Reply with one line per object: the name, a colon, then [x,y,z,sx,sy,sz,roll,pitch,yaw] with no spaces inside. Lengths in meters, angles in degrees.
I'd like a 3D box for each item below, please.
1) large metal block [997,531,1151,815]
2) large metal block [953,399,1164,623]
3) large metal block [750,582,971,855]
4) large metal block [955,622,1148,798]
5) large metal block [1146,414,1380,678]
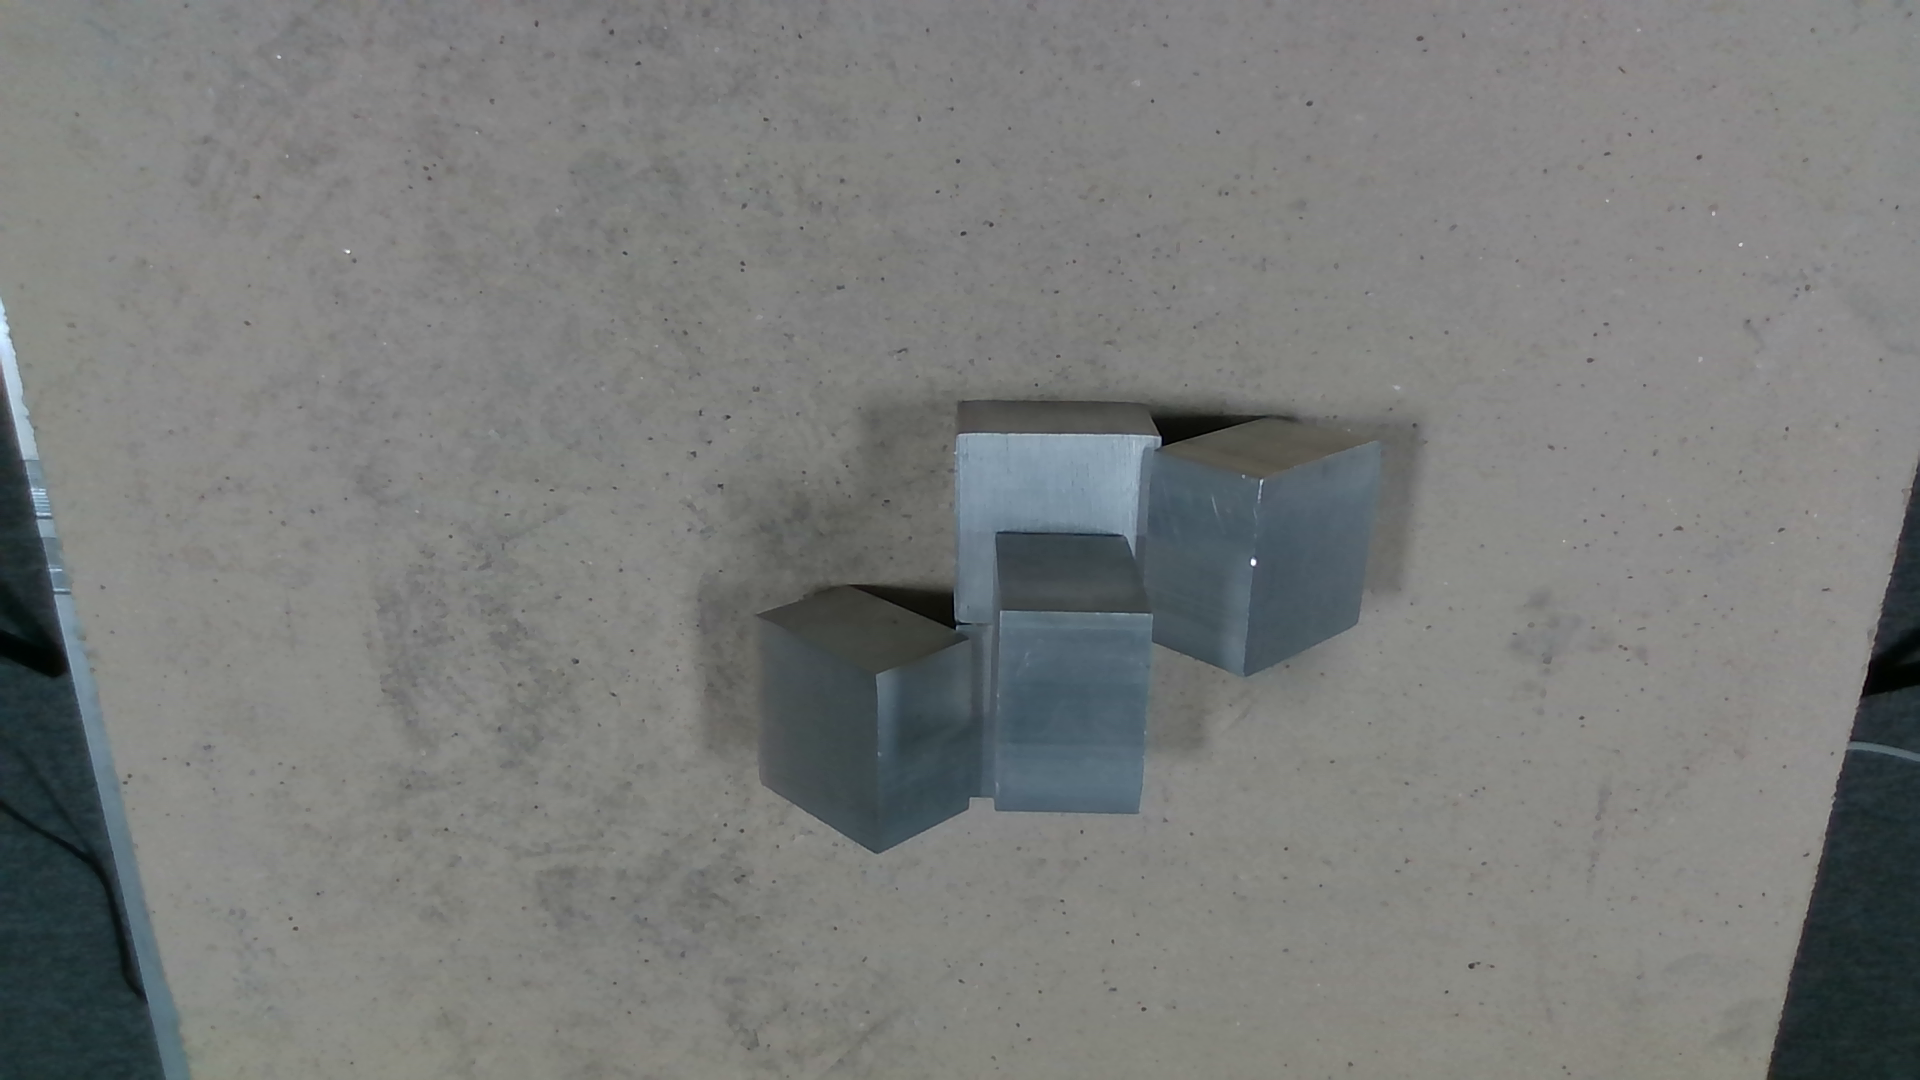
large metal block: [0.039,0.047,0.520,0.050,0.080,0.080,1,110,0]
large metal block: [0.038,-0.012,0.565,0.080,0.050,0.080,1,110,0]
large metal block: [-0.042,0.072,0.575,0.050,0.080,0.080,-18,117,-41]
large metal block: [0.037,0.064,0.593,0.080,0.050,0.080,1,110,0]
large metal block: [0.120,-0.001,0.549,0.080,0.050,0.080,-17,116,-41]
